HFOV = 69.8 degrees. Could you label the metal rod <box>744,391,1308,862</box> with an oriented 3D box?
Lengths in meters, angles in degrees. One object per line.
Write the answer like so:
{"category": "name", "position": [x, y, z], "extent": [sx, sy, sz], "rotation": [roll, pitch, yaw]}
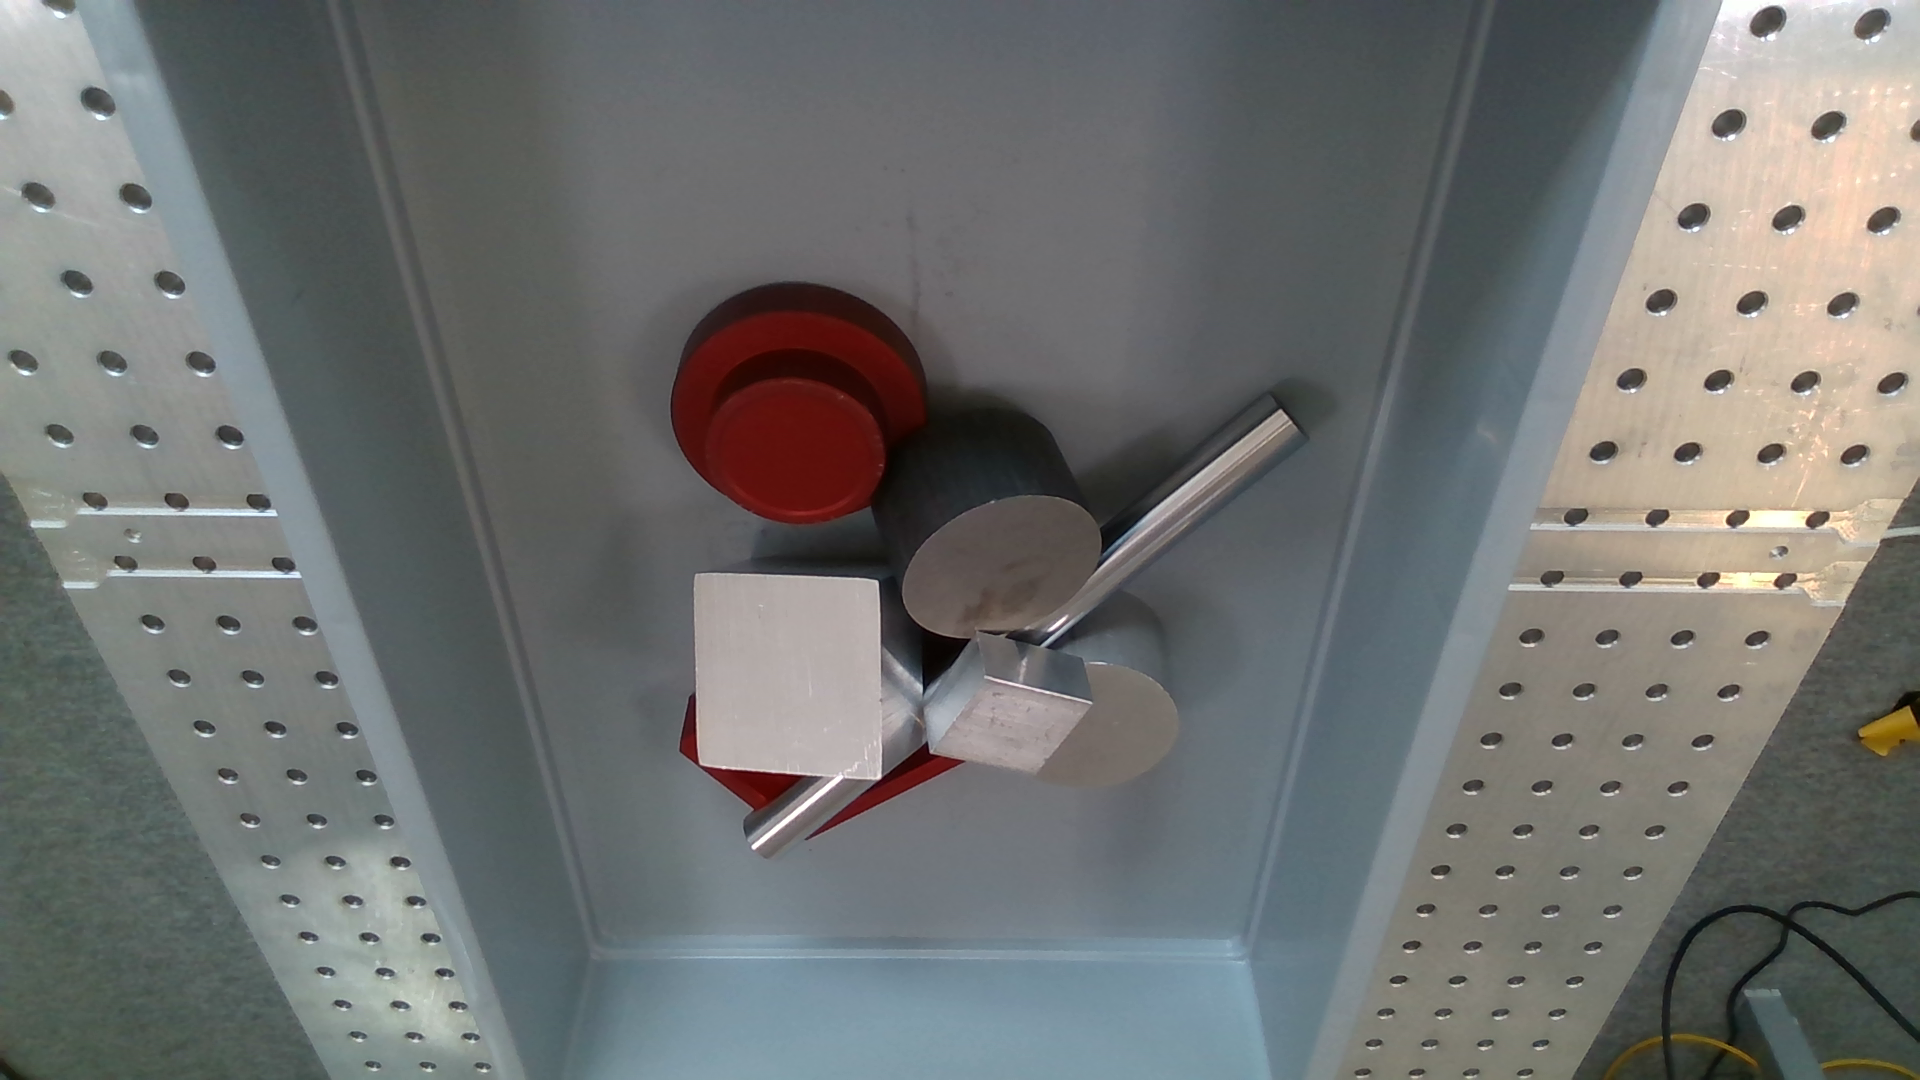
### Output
{"category": "metal rod", "position": [0.019, 0.044, 0.583], "extent": [0.300, 0.025, 0.025], "rotation": [-40, 120, 18]}

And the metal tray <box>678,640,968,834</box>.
{"category": "metal tray", "position": [-0.055, 0.084, 0.645], "extent": [0.130, 0.030, 0.090], "rotation": [-29, 124, 22]}

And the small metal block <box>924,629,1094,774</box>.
{"category": "small metal block", "position": [0.019, 0.067, 0.566], "extent": [0.050, 0.025, 0.050], "rotation": [16, 128, -23]}

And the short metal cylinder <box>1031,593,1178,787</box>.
{"category": "short metal cylinder", "position": [0.055, 0.066, 0.618], "extent": [0.080, 0.050, 0.080], "rotation": [0, 130, 0]}

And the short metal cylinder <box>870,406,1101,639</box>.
{"category": "short metal cylinder", "position": [0.009, -0.006, 0.543], "extent": [0.080, 0.050, 0.080], "rotation": [-12, 139, -11]}

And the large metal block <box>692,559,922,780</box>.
{"category": "large metal block", "position": [-0.062, 0.050, 0.570], "extent": [0.080, 0.050, 0.080], "rotation": [1, 97, 17]}

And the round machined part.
{"category": "round machined part", "position": [-0.062, -0.045, 0.528], "extent": [0.098, 0.042, 0.098], "rotation": [0, 130, 0]}
